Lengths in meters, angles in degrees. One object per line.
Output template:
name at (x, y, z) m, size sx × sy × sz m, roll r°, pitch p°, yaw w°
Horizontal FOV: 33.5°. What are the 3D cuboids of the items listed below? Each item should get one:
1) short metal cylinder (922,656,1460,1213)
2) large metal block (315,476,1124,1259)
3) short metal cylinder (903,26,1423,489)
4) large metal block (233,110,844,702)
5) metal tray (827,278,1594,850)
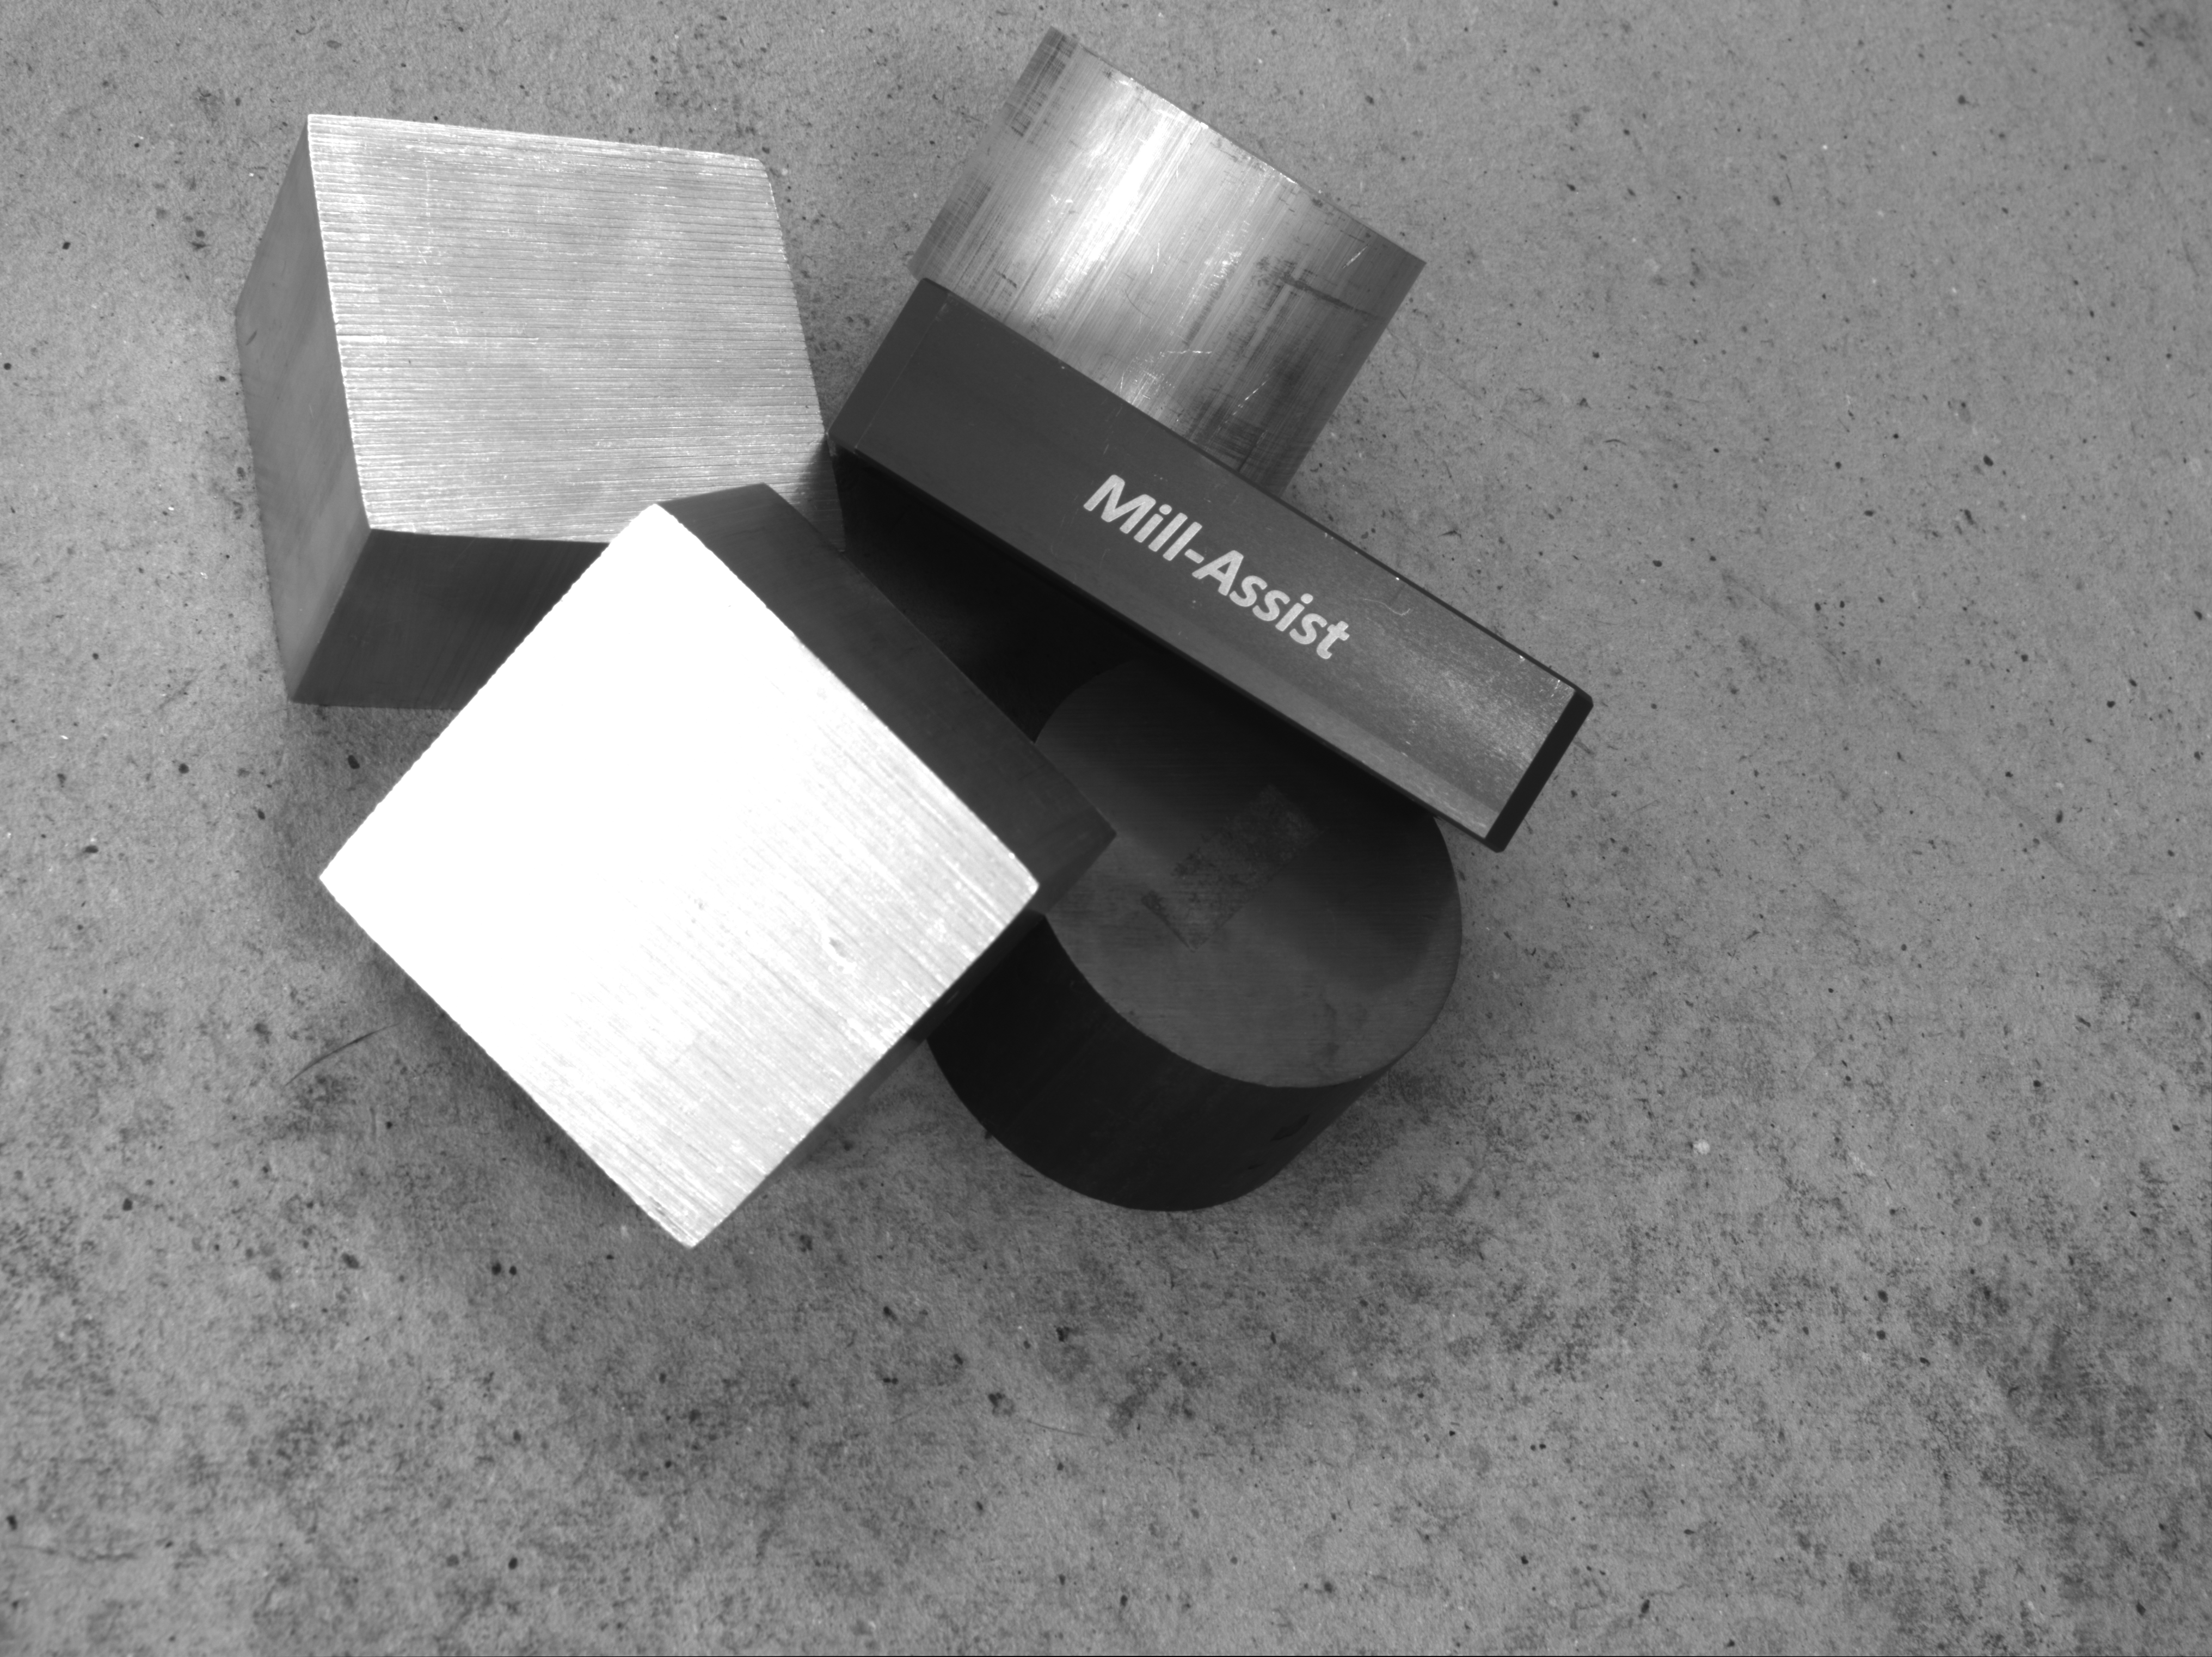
short metal cylinder at (0.013, 0.018, 0.620) m, size 0.080 × 0.050 × 0.080 m, roll 13°, pitch 56°, yaw -21°
large metal block at (-0.058, 0.004, 0.562) m, size 0.080 × 0.080 × 0.050 m, roll 45°, pitch 15°, yaw 3°
short metal cylinder at (0.010, -0.102, 0.666) m, size 0.080 × 0.050 × 0.080 m, roll 31°, pitch 11°, yaw -6°
large metal block at (-0.096, -0.068, 0.611) m, size 0.080 × 0.050 × 0.080 m, roll 1°, pitch 61°, yaw -28°
metal tray at (0.014, -0.046, 0.635) m, size 0.130 × 0.090 × 0.030 m, roll 31°, pitch 91°, yaw -8°
